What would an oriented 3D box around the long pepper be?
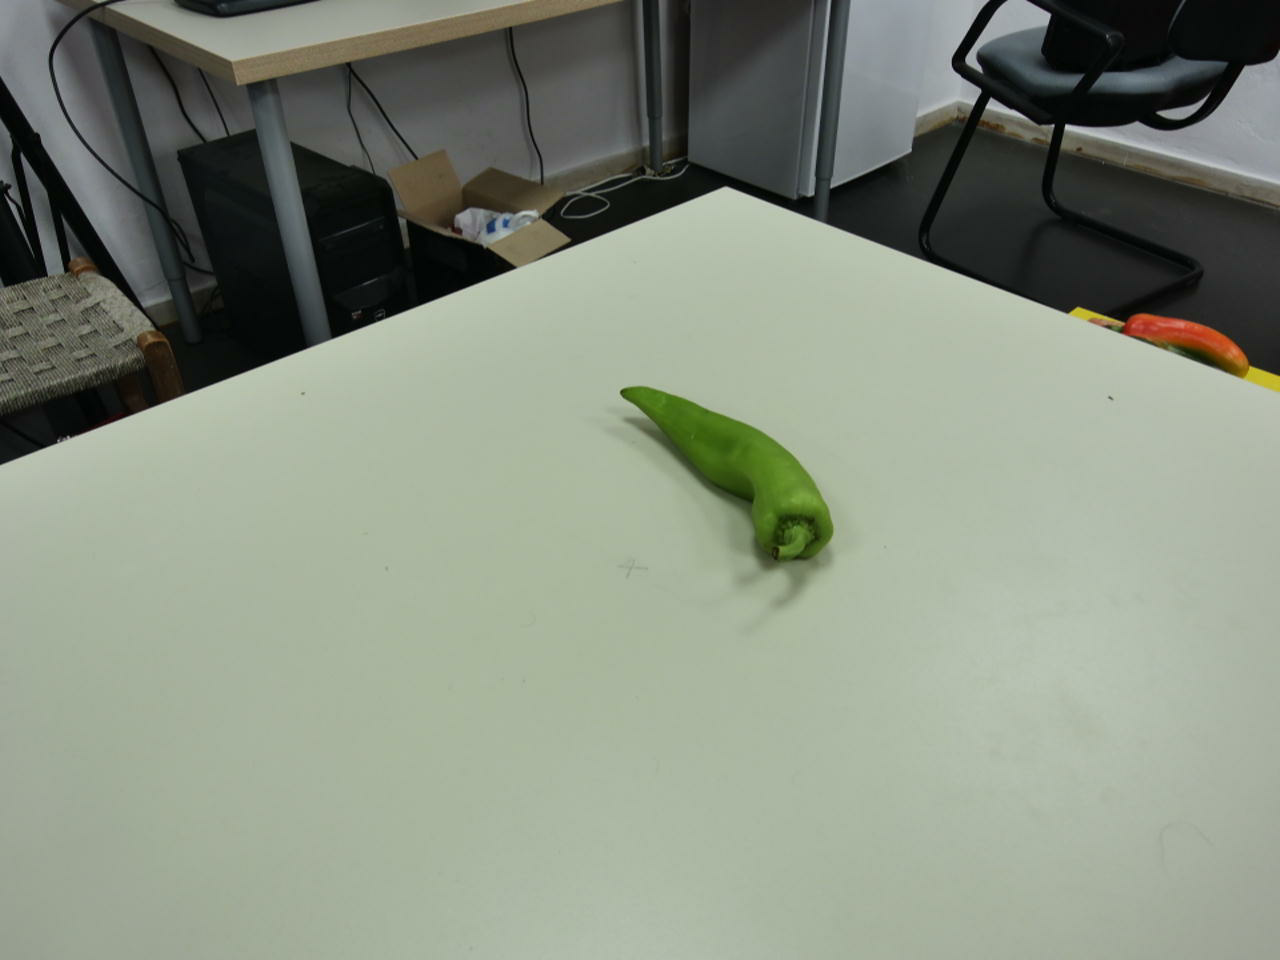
[{"bbox_3d":[0.058,-0.014,0.624,0.065,0.045,0.204,-15,39,-20],"label":"long pepper"}]
